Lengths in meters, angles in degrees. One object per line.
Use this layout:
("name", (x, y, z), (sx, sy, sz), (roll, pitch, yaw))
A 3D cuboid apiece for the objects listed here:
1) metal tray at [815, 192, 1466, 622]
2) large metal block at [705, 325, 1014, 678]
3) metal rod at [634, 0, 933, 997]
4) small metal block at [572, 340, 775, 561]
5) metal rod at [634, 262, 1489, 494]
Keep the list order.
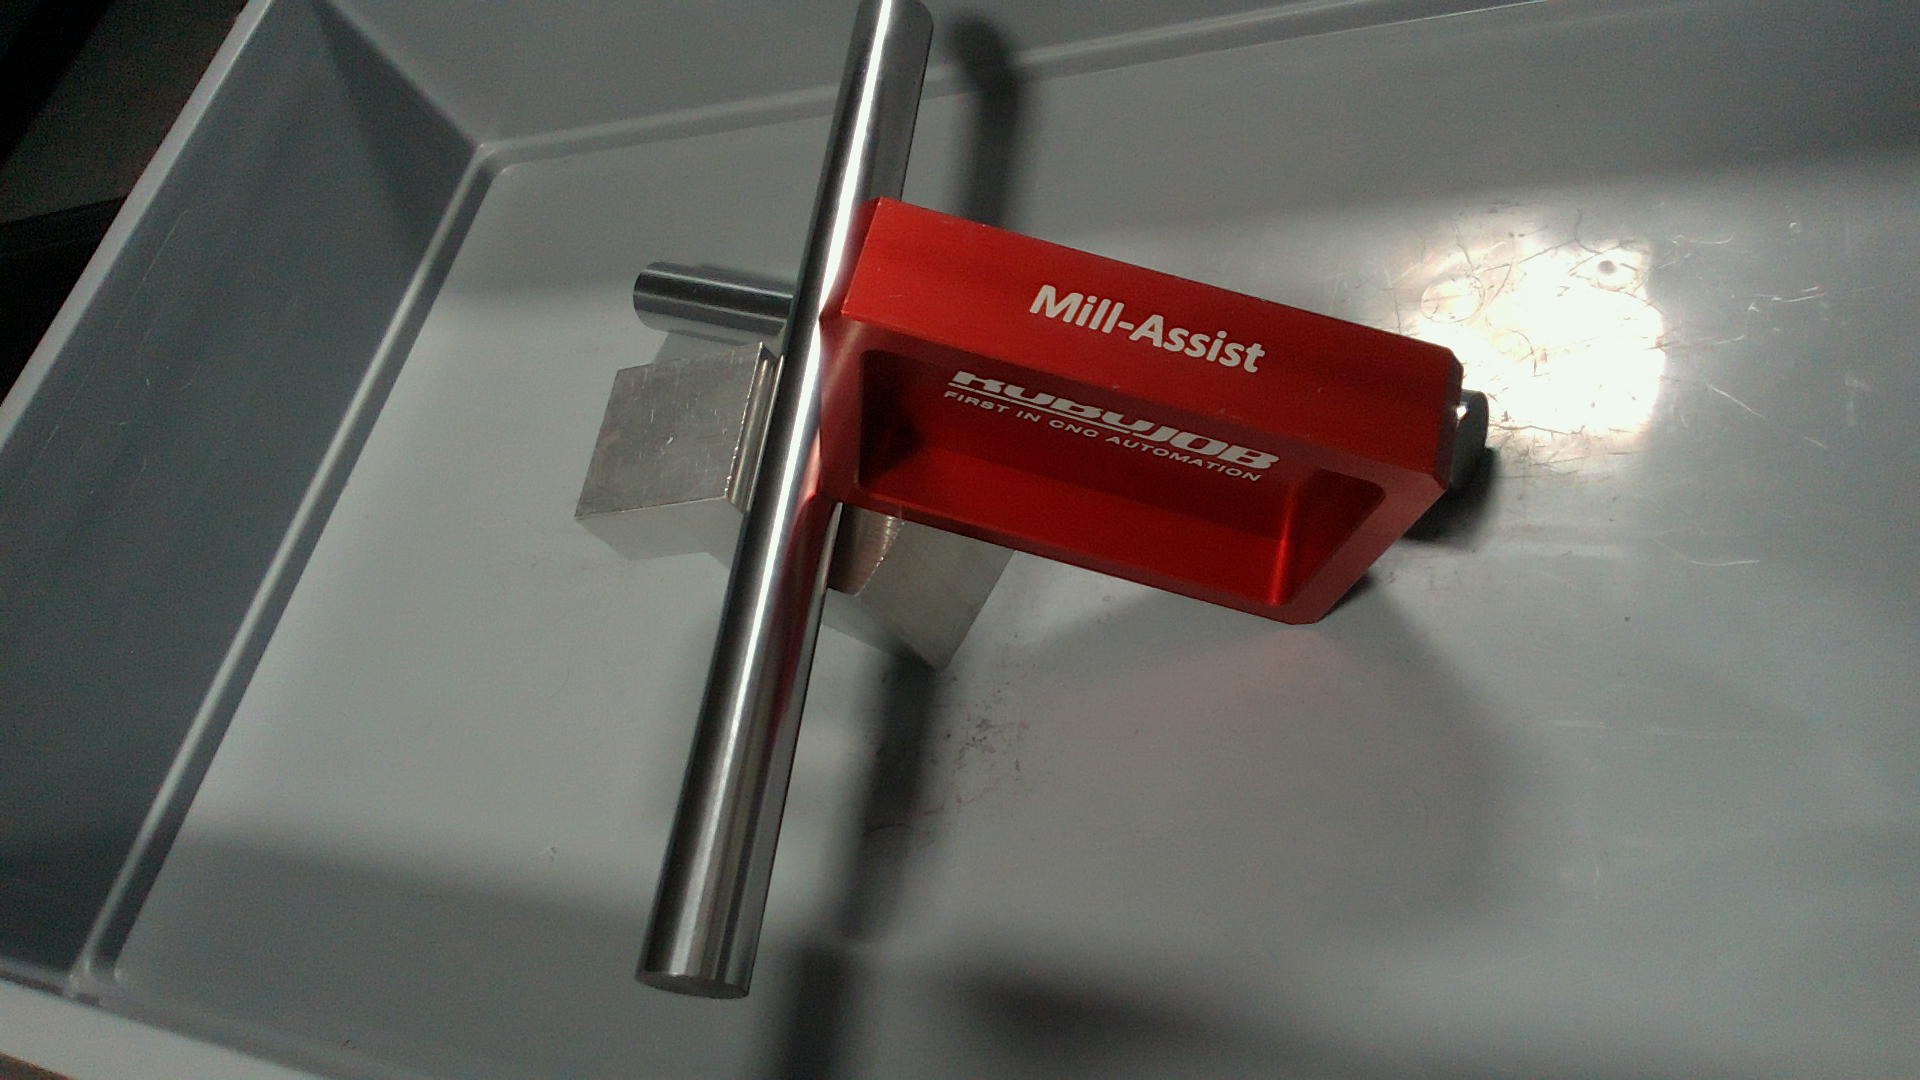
("metal tray", (0.034, -0.025, 0.313), (0.130, 0.090, 0.030), (15, 66, 1))
("large metal block", (-0.026, -0.017, 0.402), (0.080, 0.050, 0.080), (19, 72, 36))
("metal rod", (-0.039, -0.034, 0.370), (0.025, 0.025, 0.300), (-6, 59, 25))
("small metal block", (-0.074, -0.024, 0.383), (0.050, 0.025, 0.050), (-6, 58, 25))
("metal rod", (0.008, -0.057, 0.424), (0.299, 0.025, 0.025), (16, 70, 35))
